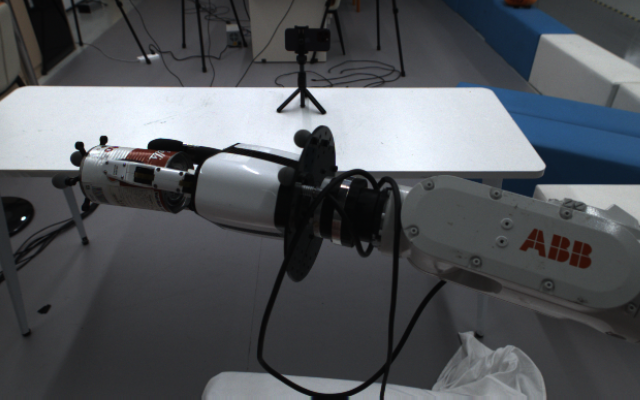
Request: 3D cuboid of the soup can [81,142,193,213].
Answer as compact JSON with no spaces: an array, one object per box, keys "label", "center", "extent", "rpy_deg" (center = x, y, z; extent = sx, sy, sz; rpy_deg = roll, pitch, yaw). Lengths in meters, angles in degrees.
[{"label":"soup can","center":[-0.198,-0.023,0.534],"extent":[0.101,0.067,0.067],"rpy_deg":[6,35,12]}]
